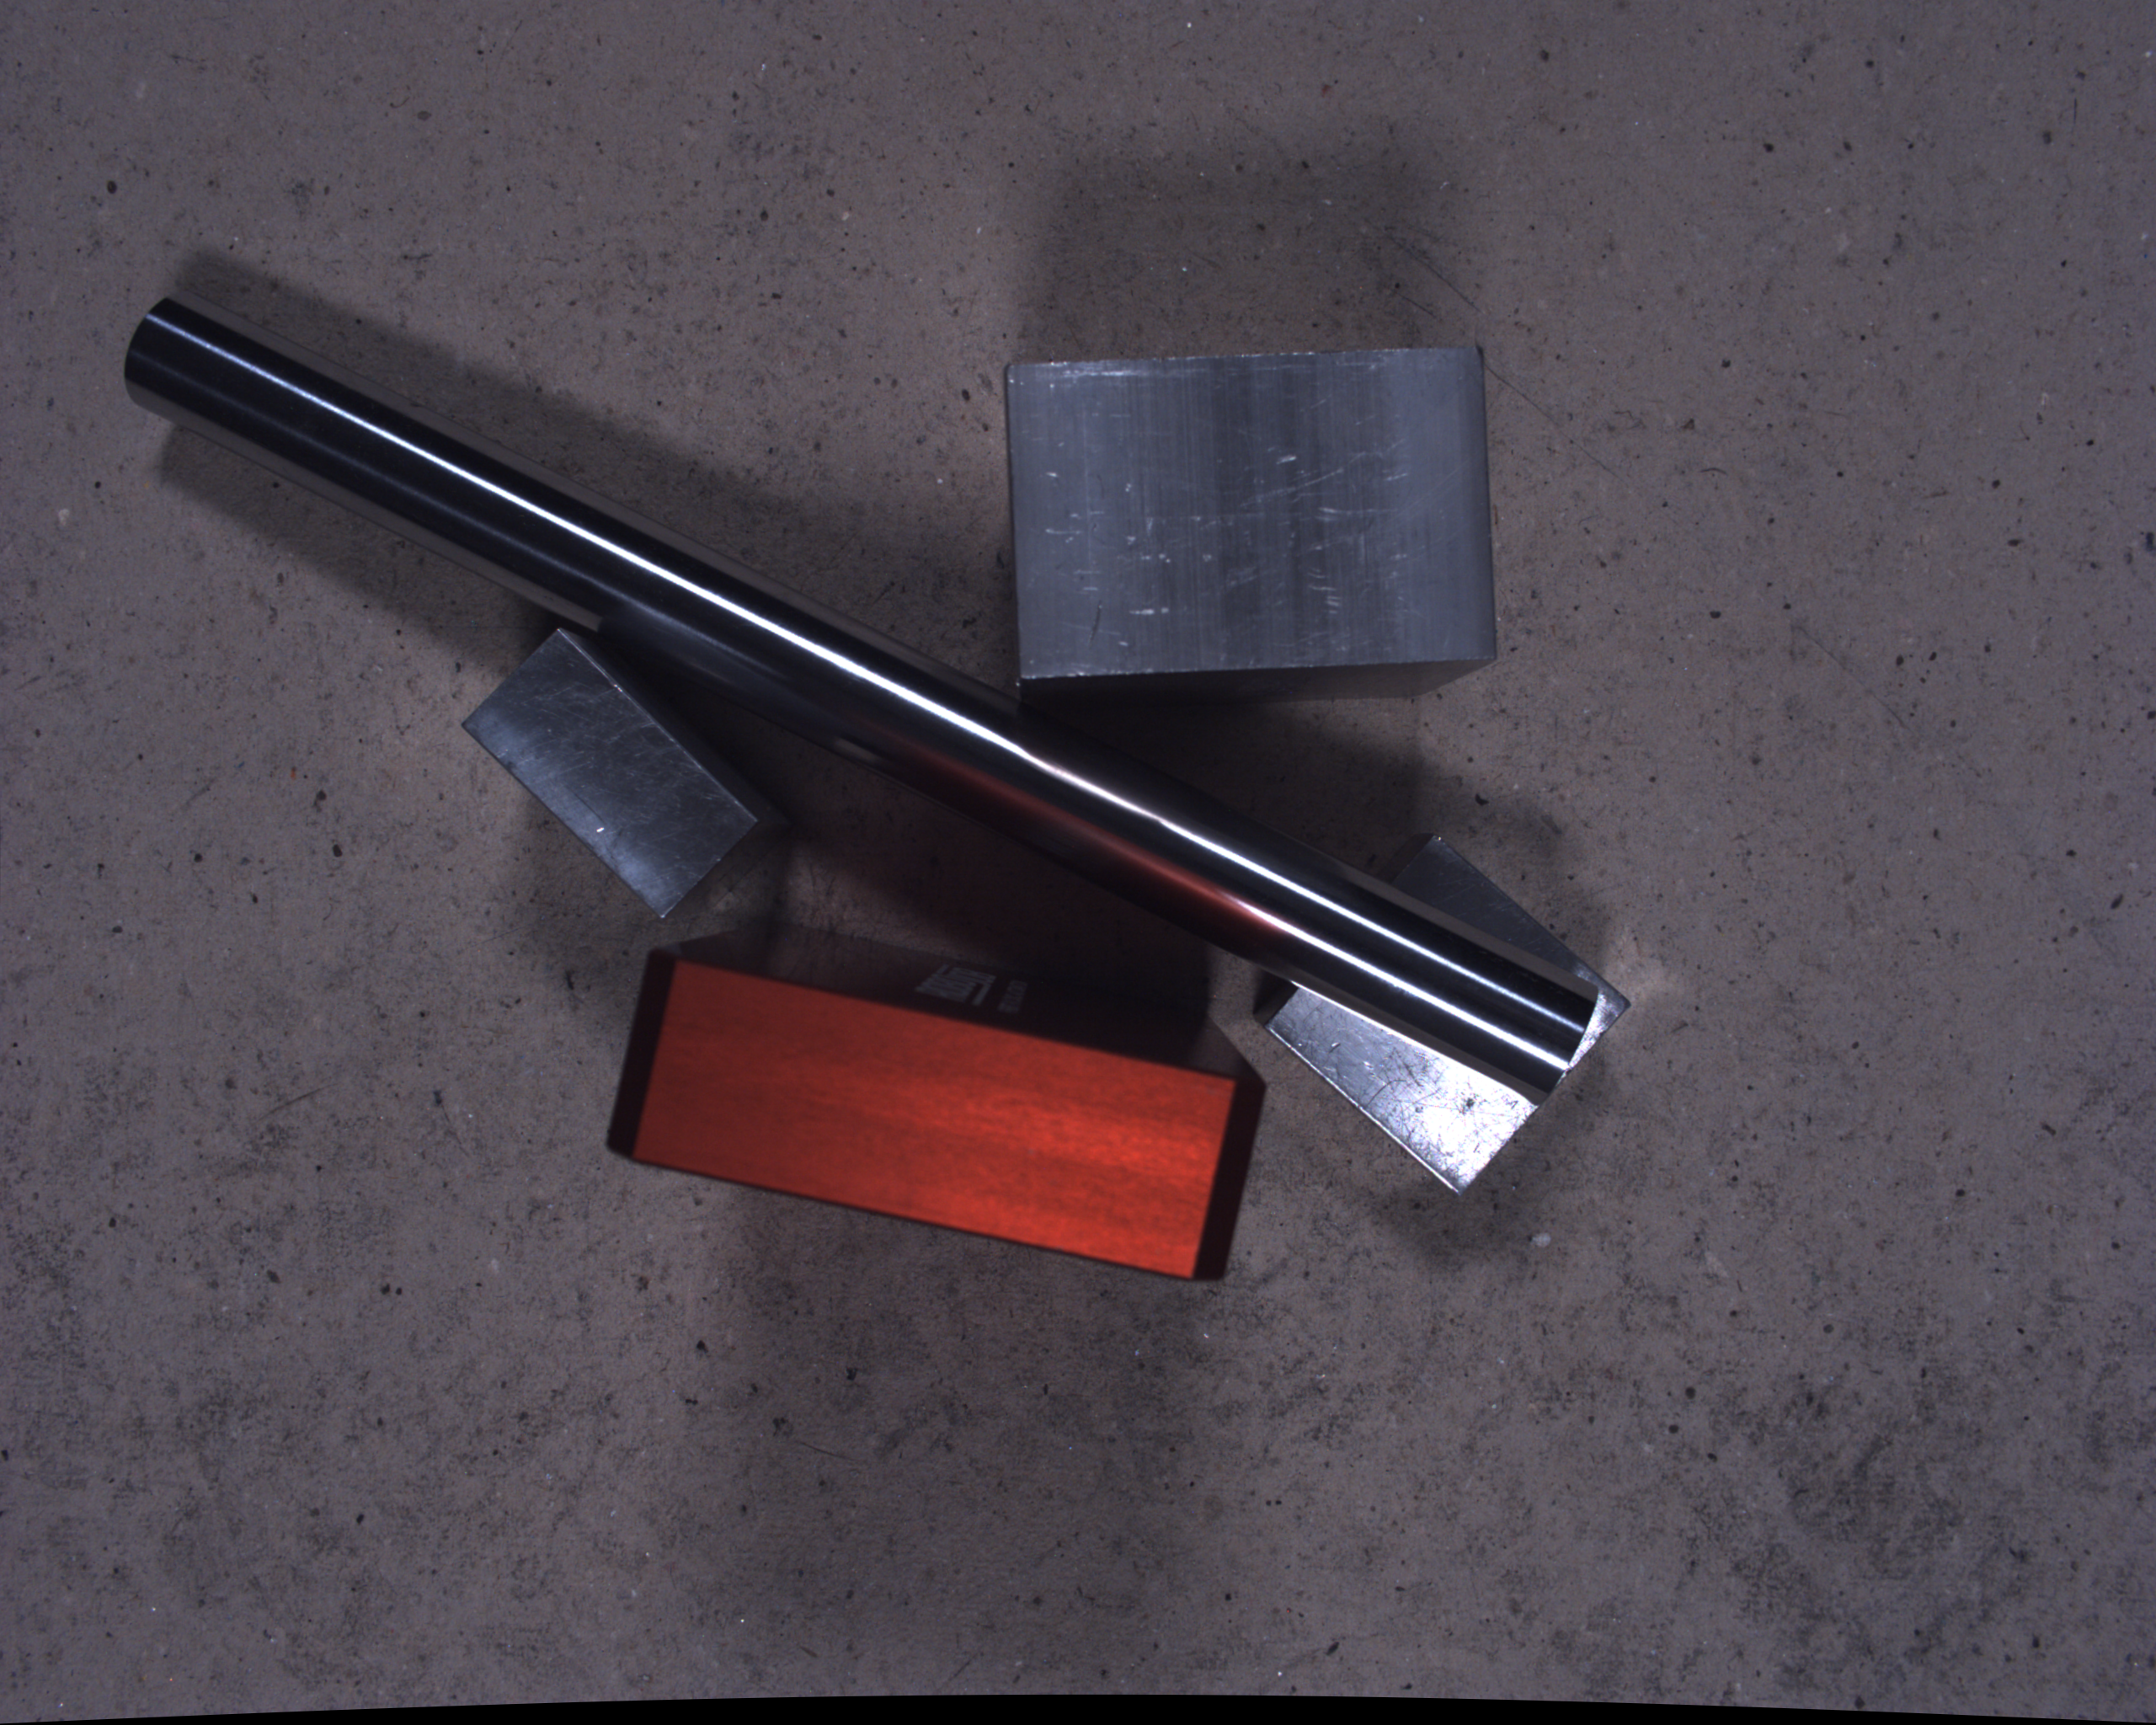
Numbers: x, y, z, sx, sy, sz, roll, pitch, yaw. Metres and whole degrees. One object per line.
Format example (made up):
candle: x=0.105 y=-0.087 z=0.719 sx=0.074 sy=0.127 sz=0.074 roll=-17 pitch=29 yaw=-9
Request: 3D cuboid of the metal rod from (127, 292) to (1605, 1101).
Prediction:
metal rod: x=-0.043 y=-0.034 z=0.397 sx=0.301 sy=0.025 sz=0.025 roll=26 pitch=90 yaw=5

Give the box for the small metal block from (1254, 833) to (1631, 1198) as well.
small metal block: x=0.071 y=0.029 z=0.413 sx=0.050 sy=0.025 sz=0.050 roll=41 pitch=90 yaw=-1

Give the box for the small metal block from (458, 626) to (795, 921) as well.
small metal block: x=-0.084 y=-0.016 z=0.397 sx=0.050 sy=0.050 sz=0.025 roll=44 pitch=90 yaw=-1

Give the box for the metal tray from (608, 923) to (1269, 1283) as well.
metal tray: x=-0.020 y=0.036 z=0.359 sx=0.091 sy=0.130 sz=0.030 roll=12 pitch=90 yaw=0

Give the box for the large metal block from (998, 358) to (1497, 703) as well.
large metal block: x=0.028 y=-0.057 z=0.383 sx=0.081 sy=0.080 sz=0.050 roll=-2 pitch=90 yaw=-1
